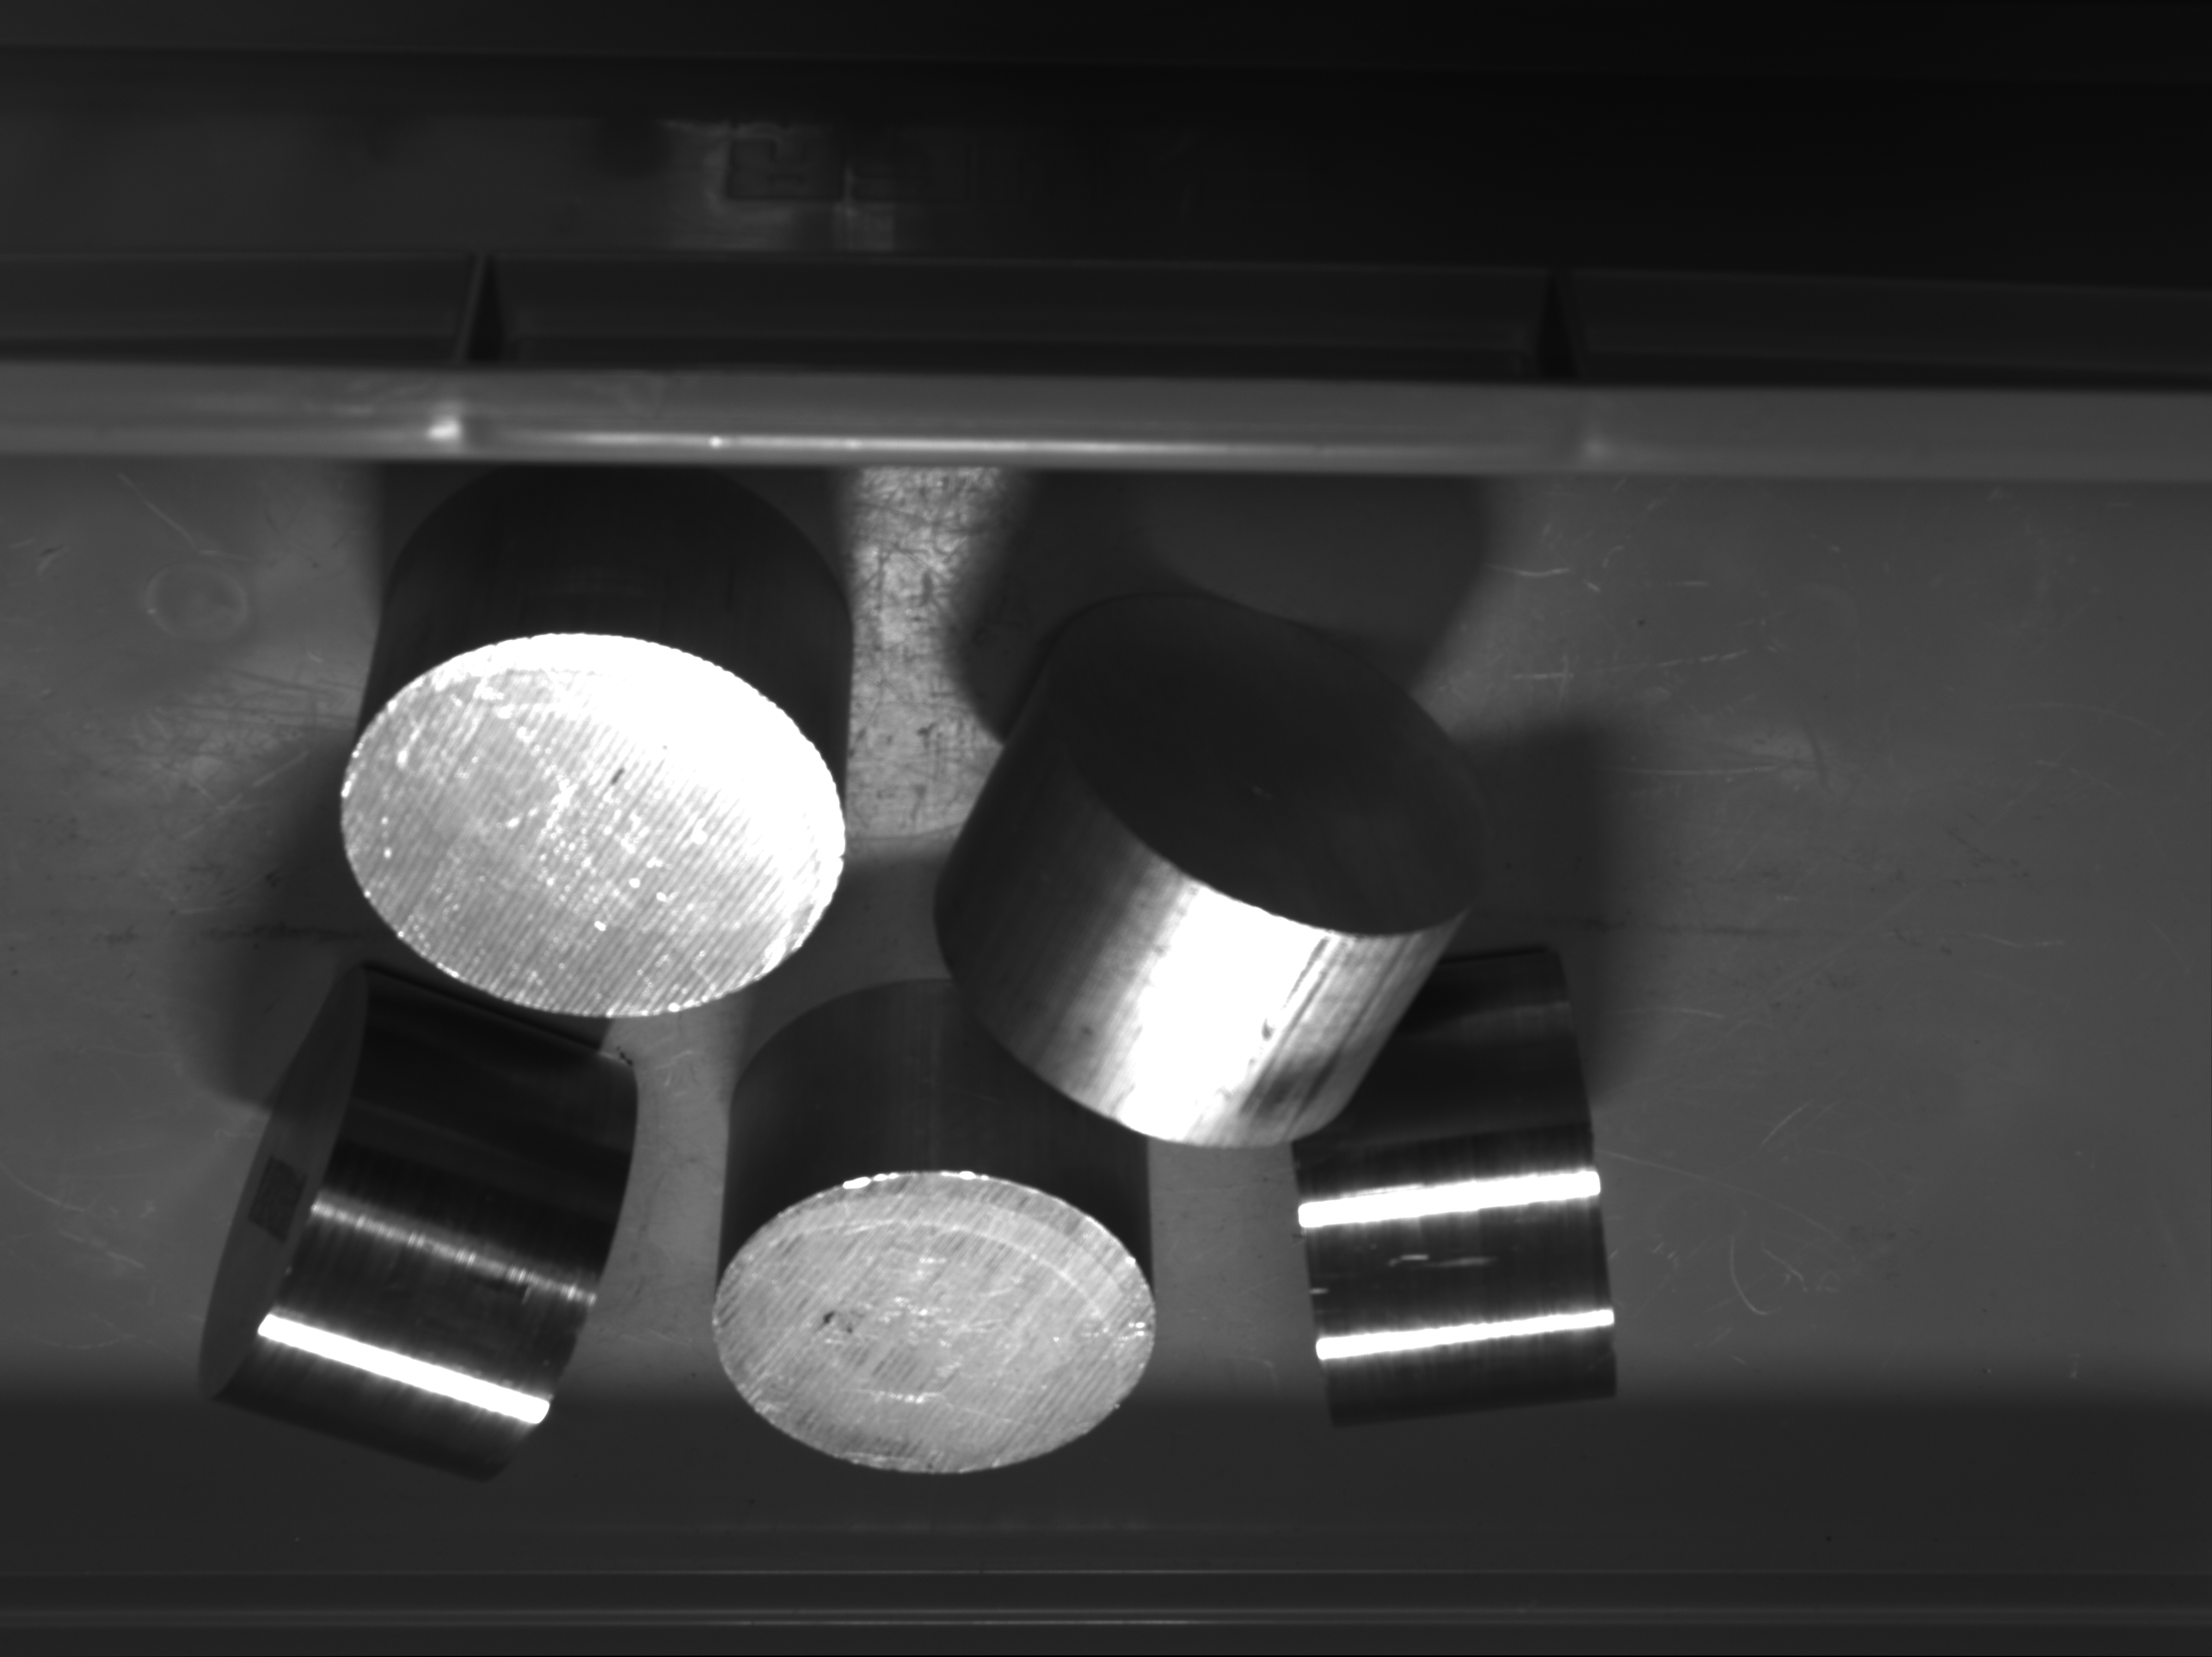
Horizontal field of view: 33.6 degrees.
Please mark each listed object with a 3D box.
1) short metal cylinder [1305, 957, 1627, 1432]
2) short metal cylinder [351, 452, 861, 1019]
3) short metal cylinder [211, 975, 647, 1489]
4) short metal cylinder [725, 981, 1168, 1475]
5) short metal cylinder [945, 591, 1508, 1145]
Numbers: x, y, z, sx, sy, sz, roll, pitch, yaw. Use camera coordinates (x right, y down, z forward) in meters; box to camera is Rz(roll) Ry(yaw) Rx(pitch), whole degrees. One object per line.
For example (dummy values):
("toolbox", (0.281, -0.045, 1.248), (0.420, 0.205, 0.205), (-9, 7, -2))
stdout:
("short metal cylinder", (0.063, 0.066, 0.658), (0.050, 0.080, 0.080), (-7, 130, 4))
("short metal cylinder", (-0.081, -0.015, 0.605), (0.080, 0.050, 0.080), (-1, 130, -1))
("short metal cylinder", (-0.122, 0.072, 0.657), (0.050, 0.080, 0.080), (21, 126, -18))
("short metal cylinder", (-0.029, 0.075, 0.682), (0.080, 0.050, 0.080), (-1, 130, -1))
("short metal cylinder", (0.020, 0.006, 0.608), (0.080, 0.080, 0.050), (17, 127, -15))
